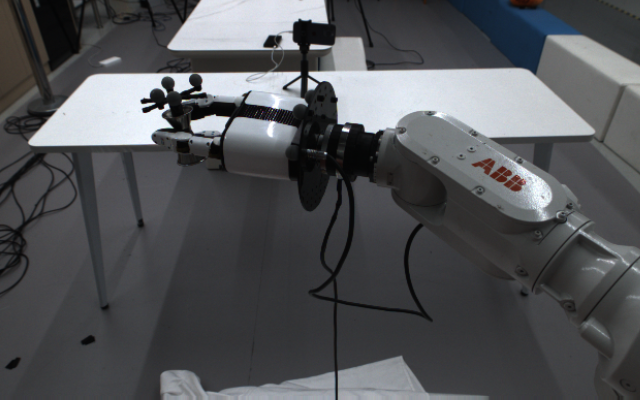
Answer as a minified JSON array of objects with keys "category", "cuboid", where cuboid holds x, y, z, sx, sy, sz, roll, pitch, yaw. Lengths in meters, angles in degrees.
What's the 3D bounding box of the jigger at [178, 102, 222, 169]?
[{"category":"jigger","cuboid":[-0.174,-0.086,0.638,0.043,0.071,0.043,-8,31,5]}]
